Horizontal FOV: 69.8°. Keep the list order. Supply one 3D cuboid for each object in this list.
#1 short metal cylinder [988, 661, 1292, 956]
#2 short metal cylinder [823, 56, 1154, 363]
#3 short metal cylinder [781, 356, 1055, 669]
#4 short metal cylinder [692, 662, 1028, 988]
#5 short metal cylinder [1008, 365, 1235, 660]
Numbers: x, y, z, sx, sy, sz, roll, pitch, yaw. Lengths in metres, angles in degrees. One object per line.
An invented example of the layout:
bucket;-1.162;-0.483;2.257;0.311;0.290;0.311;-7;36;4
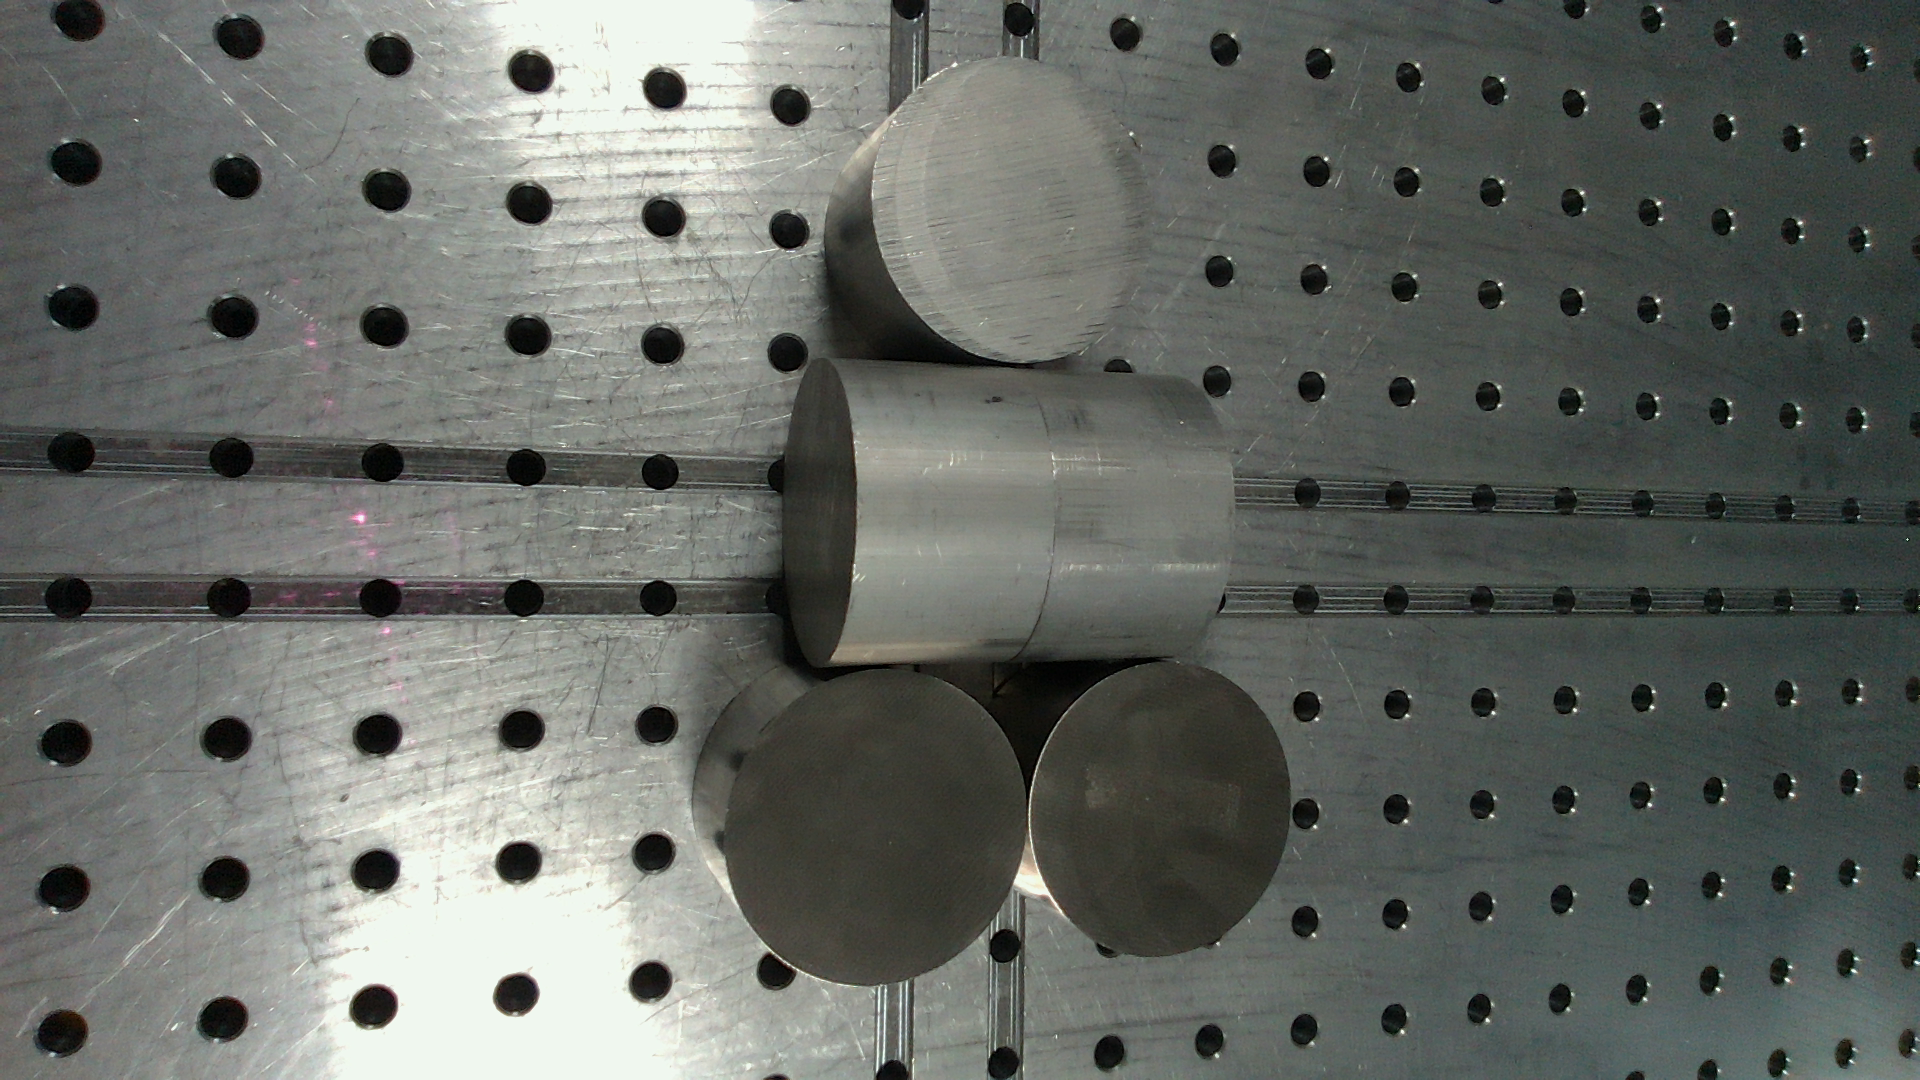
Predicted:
short metal cylinder;0.048;0.073;0.399;0.080;0.050;0.080;0;90;-20
short metal cylinder;0.007;-0.087;0.385;0.080;0.050;0.080;0;90;-20
short metal cylinder;-0.014;-0.007;0.362;0.050;0.080;0.080;0;90;-20
short metal cylinder;-0.028;0.073;0.372;0.080;0.050;0.080;0;90;-20
short metal cylinder;0.033;-0.007;0.379;0.050;0.080;0.080;0;90;-20
